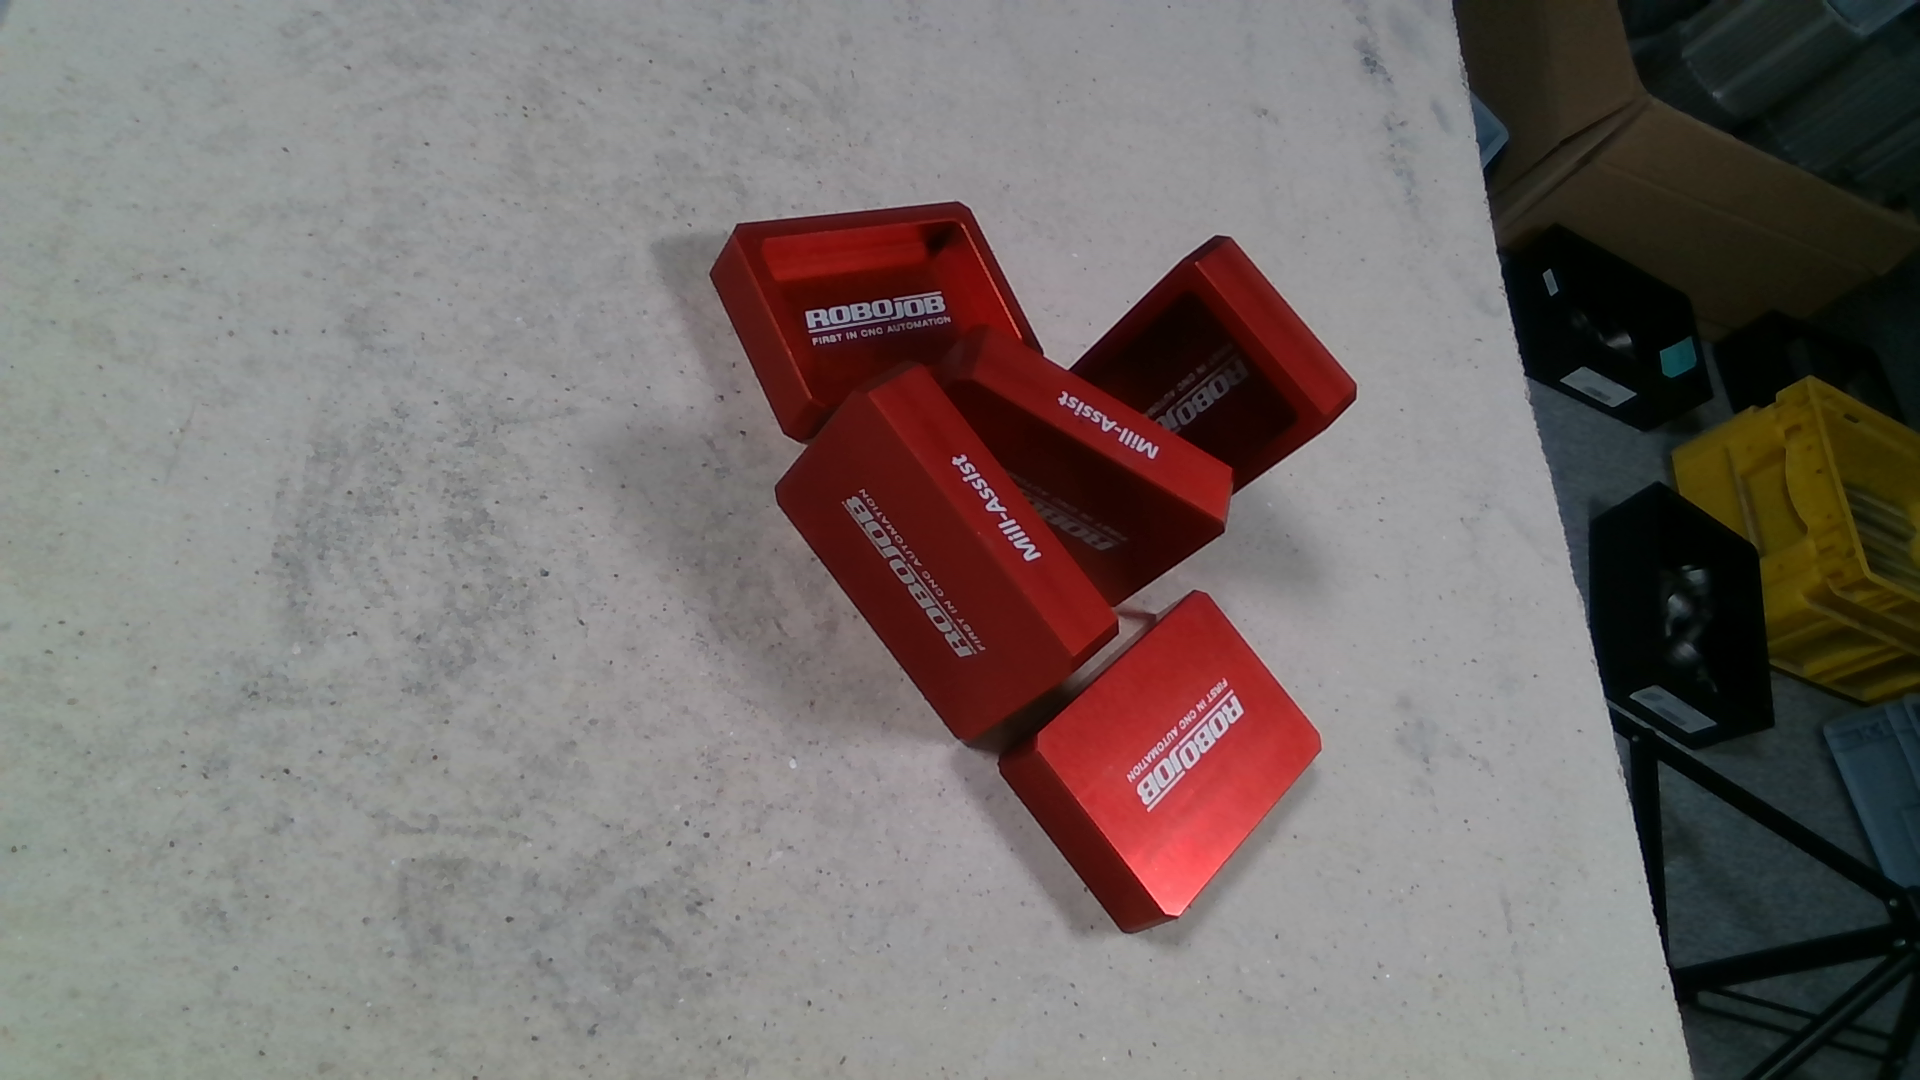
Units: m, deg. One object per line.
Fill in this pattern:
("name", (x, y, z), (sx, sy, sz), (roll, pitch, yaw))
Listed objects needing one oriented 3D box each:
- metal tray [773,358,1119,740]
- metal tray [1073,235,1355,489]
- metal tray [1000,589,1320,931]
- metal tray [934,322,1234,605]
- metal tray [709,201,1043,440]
("metal tray", (-0.009, 0.006, 0.535), (0.030, 0.090, 0.130), (-35, 86, -39))
("metal tray", (0.099, -0.061, 0.612), (0.090, 0.130, 0.030), (50, 51, 1))
("metal tray", (0.088, 0.091, 0.589), (0.130, 0.030, 0.090), (-36, 87, -39))
("metal tray", (0.038, -0.028, 0.582), (0.130, 0.090, 0.030), (29, 53, -16))
("metal tray", (-0.035, -0.101, 0.616), (0.130, 0.030, 0.090), (-16, 75, -37))
